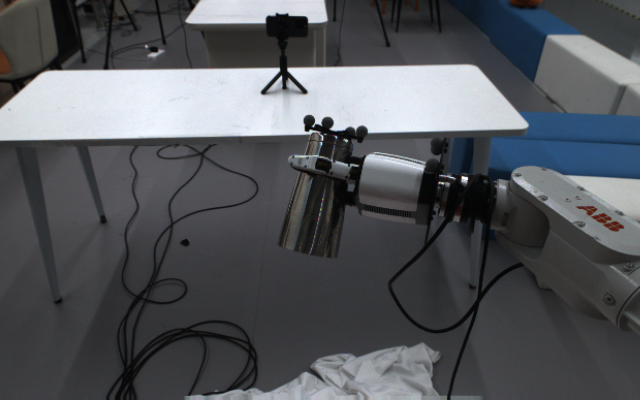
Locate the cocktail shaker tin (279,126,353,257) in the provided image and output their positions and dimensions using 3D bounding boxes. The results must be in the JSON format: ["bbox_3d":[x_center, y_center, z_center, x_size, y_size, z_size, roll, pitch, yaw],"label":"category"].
[{"bbox_3d":[0.002,-0.011,0.716,0.093,0.170,0.093,13,1,0],"label":"cocktail shaker tin"}]
